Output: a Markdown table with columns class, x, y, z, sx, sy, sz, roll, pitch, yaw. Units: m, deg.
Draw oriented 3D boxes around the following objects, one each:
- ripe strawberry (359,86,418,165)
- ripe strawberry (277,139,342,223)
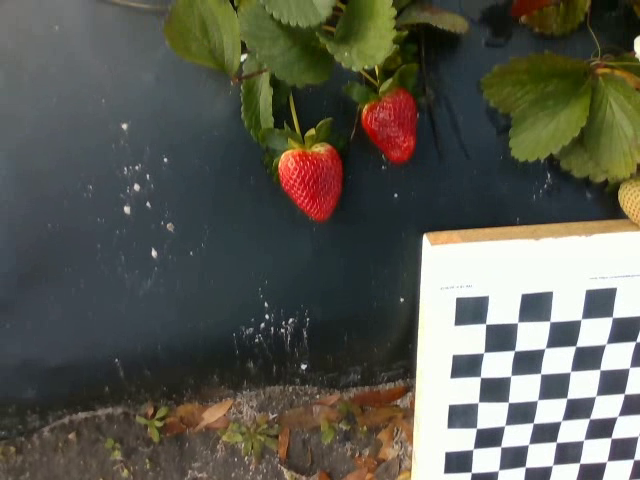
| class | x | y | z | sx | sy | sz | roll | pitch | yaw |
| --- | --- | --- | --- | --- | --- | --- | --- | --- | --- |
| ripe strawberry | 0.051 | -0.077 | 0.364 | 0.042 | 0.053 | 0.034 | -17 | -12 | 7 |
| ripe strawberry | -0.004 | -0.039 | 0.368 | 0.050 | 0.061 | 0.045 | -12 | -15 | 5 |
